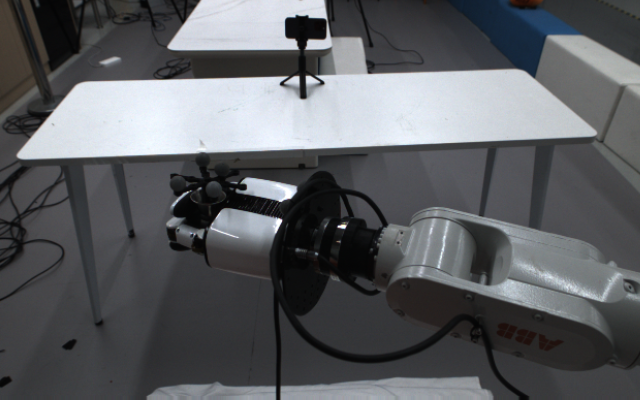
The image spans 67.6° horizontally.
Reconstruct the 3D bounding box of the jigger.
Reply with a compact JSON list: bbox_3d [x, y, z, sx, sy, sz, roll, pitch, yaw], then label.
[{"bbox_3d":[-0.130,0.025,0.569,0.043,0.071,0.043,5,26,-3],"label":"jigger"}]
